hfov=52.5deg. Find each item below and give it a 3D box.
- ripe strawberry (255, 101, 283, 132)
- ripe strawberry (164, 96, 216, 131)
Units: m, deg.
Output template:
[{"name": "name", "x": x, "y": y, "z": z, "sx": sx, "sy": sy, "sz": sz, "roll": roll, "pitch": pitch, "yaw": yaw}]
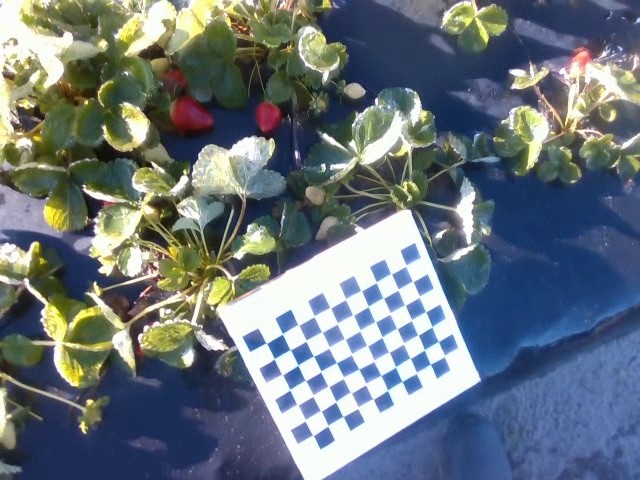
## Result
[{"name": "ripe strawberry", "x": -0.066, "y": -0.156, "z": 0.819, "sx": 0.039, "sy": 0.047, "sz": 0.040, "roll": 13, "pitch": -14, "yaw": -18}, {"name": "ripe strawberry", "x": -0.159, "y": -0.156, "z": 0.803, "sx": 0.056, "sy": 0.044, "sz": 0.040, "roll": 24, "pitch": -7, "yaw": -17}]
